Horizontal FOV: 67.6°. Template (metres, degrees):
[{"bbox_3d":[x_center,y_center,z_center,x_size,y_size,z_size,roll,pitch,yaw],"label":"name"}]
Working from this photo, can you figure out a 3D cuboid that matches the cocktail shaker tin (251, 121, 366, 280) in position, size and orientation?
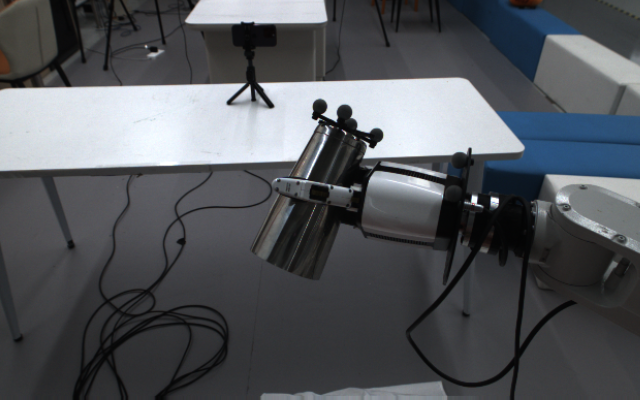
[{"bbox_3d":[-0.005,-0.002,0.583,0.093,0.170,0.093,23,0,0],"label":"cocktail shaker tin"}]
